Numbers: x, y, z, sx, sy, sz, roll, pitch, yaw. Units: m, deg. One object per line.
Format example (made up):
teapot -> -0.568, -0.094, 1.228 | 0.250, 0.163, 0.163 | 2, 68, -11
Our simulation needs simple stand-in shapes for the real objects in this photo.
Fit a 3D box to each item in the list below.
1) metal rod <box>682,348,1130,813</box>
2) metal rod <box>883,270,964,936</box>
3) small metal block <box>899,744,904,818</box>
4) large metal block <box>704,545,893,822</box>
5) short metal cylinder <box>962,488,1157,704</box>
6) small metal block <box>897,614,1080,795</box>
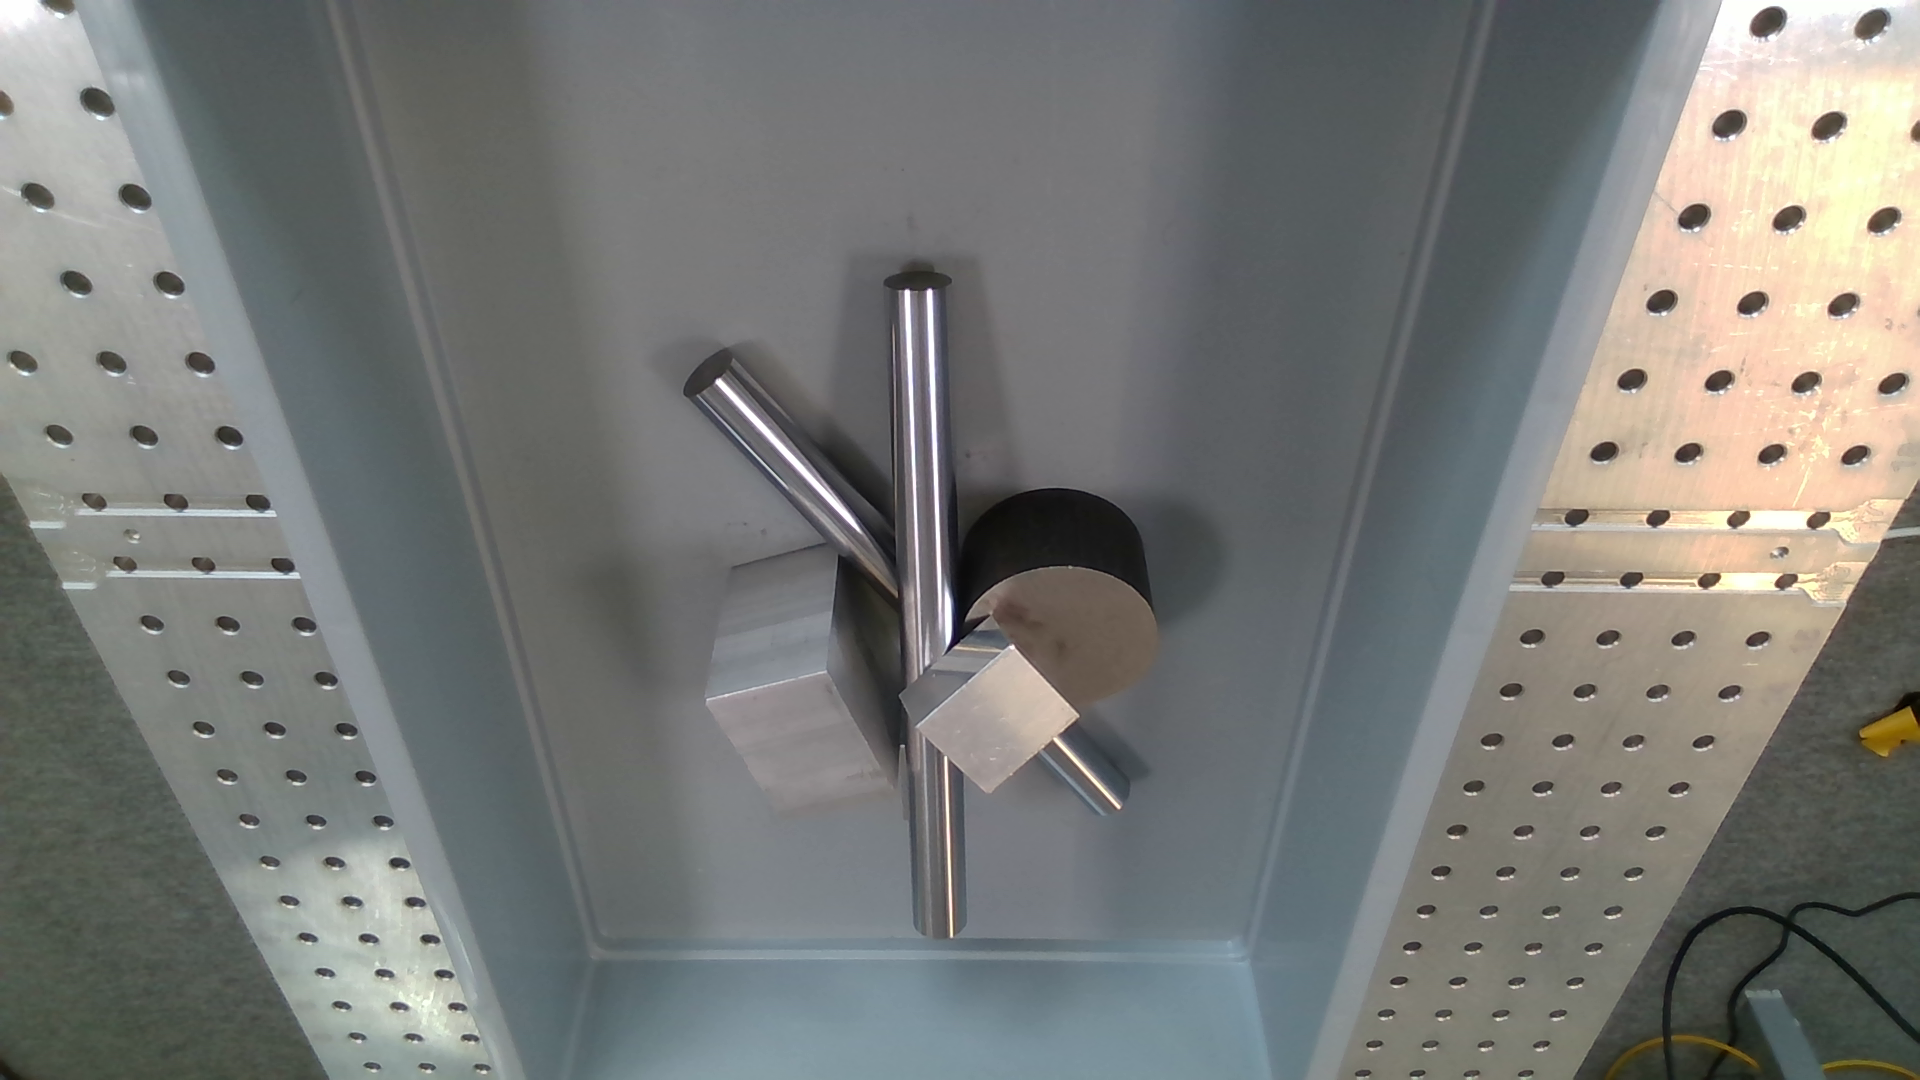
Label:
metal rod -> -0.012, 0.030, 0.605 | 0.025, 0.025, 0.301 | -28, 125, 21
metal rod -> -0.013, 0.040, 0.566 | 0.025, 0.025, 0.301 | -1, 117, 1
small metal block -> -0.015, 0.094, 0.641 | 0.025, 0.050, 0.050 | 0, 129, 0
large metal block -> -0.065, 0.060, 0.592 | 0.050, 0.080, 0.080 | -14, 129, 12
short metal cylinder -> 0.040, 0.025, 0.583 | 0.080, 0.050, 0.080 | -1, 130, -1
small metal block -> 0.012, 0.067, 0.559 | 0.050, 0.025, 0.050 | -41, 121, 3
